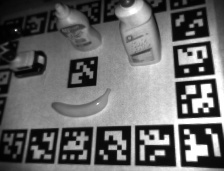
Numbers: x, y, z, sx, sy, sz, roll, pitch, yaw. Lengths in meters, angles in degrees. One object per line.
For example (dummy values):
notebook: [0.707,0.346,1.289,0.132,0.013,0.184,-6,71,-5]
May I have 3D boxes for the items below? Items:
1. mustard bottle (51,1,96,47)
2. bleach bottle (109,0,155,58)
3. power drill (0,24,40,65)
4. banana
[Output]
mustard bottle: [-0.124,-0.186,0.649,0.095,0.193,0.058,-13,69,13]
bleach bottle: [0.045,-0.152,0.546,0.101,0.253,0.068,3,73,20]
power drill: [-0.314,-0.133,0.661,0.183,0.189,0.057,-13,69,19]
banana: [-0.109,0.037,0.644,0.196,0.039,0.074,-12,71,18]
